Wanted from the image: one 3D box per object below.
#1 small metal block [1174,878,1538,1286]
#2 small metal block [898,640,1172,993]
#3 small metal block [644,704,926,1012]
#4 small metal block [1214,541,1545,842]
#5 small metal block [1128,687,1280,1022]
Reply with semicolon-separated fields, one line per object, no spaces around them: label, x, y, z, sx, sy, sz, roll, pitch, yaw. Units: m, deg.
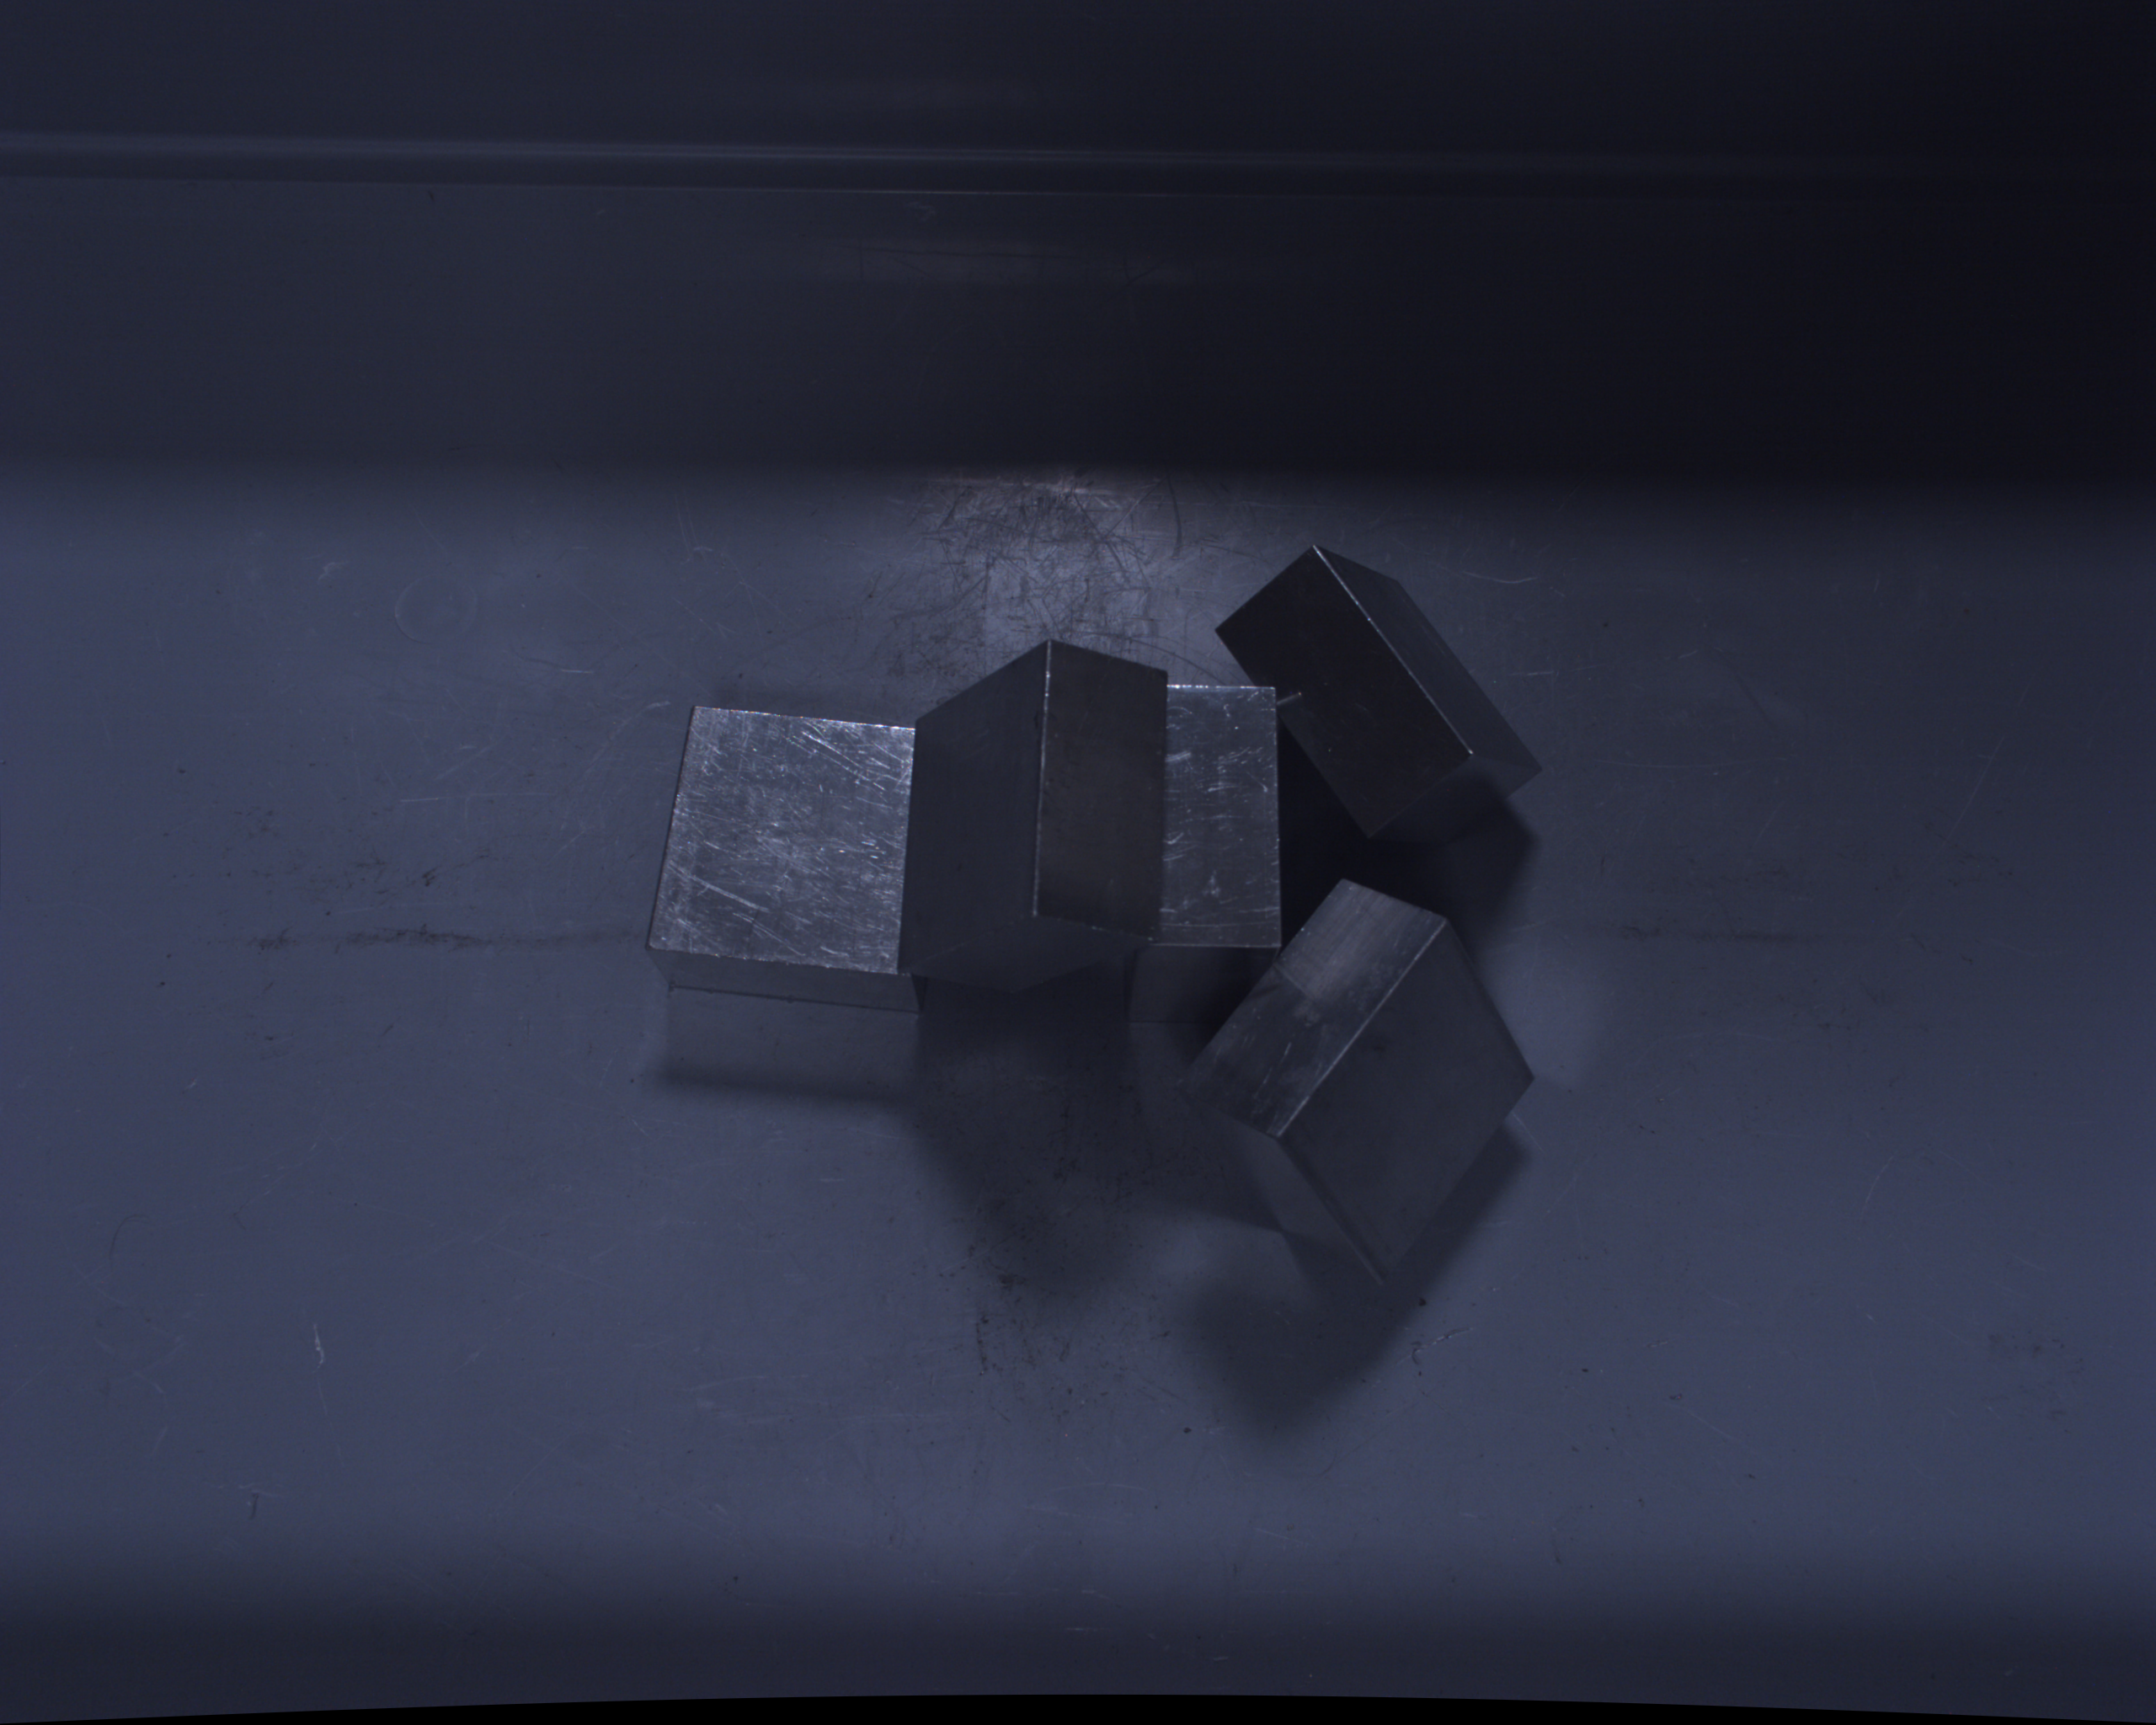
small metal block;0.052;0.040;0.378;0.025;0.050;0.050;23;67;45
small metal block;-0.008;-0.007;0.378;0.025;0.050;0.050;13;70;-29
small metal block;-0.053;-0.001;0.406;0.050;0.025;0.050;6;70;2
small metal block;0.059;-0.032;0.404;0.025;0.050;0.050;-40;73;20
small metal block;0.023;0.000;0.395;0.025;0.050;0.050;1;70;0
